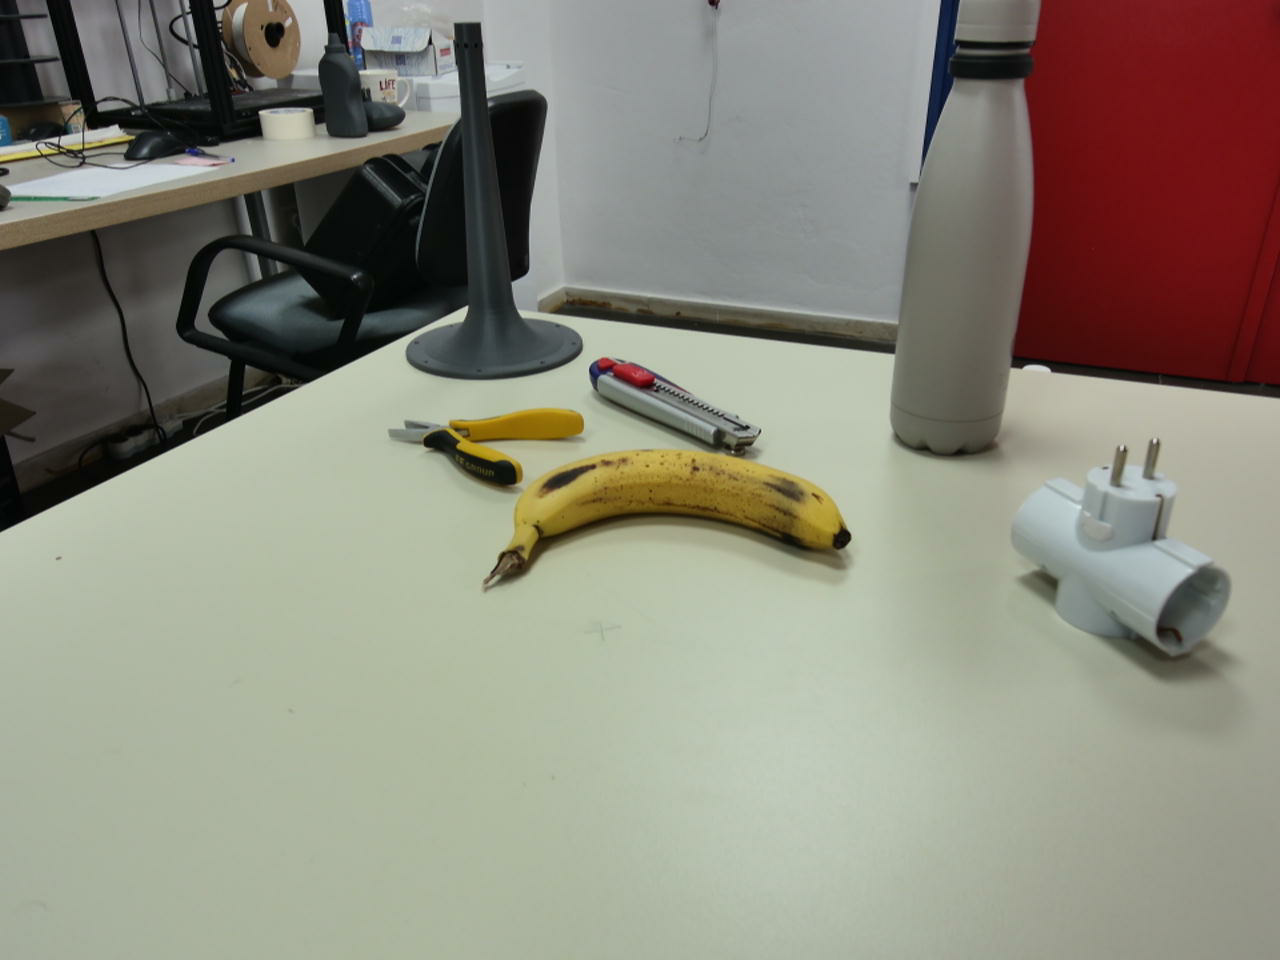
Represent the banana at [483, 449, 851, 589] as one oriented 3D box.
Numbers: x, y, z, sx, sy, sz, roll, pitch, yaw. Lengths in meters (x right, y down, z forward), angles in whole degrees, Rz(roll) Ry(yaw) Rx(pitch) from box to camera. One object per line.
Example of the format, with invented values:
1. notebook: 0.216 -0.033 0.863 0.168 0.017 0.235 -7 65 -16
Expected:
1. banana: 0.015 0.014 0.549 0.186 0.038 0.097 -2 25 -3
